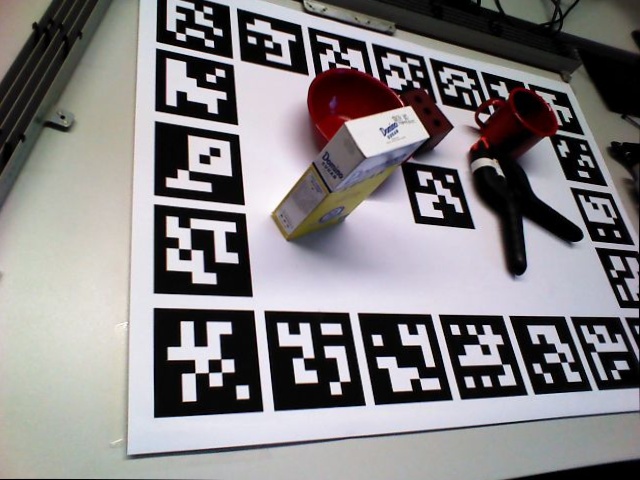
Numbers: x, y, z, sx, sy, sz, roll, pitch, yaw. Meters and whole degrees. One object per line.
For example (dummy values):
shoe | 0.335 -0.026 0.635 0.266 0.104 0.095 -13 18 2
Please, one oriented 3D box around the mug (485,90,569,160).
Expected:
mug | 0.310 -0.182 0.803 0.117 0.082 0.092 29 56 -14

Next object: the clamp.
clamp | 0.289 -0.061 0.753 0.164 0.037 0.202 -21 76 -30

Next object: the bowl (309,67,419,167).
bowl | 0.050 -0.146 0.679 0.161 0.055 0.161 12 60 -21

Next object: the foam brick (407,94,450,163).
foam brick | 0.150 -0.160 0.743 0.052 0.052 0.078 -26 79 -32

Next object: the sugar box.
sugar box | 0.023 -0.057 0.545 0.092 0.178 0.045 -23 78 -34
